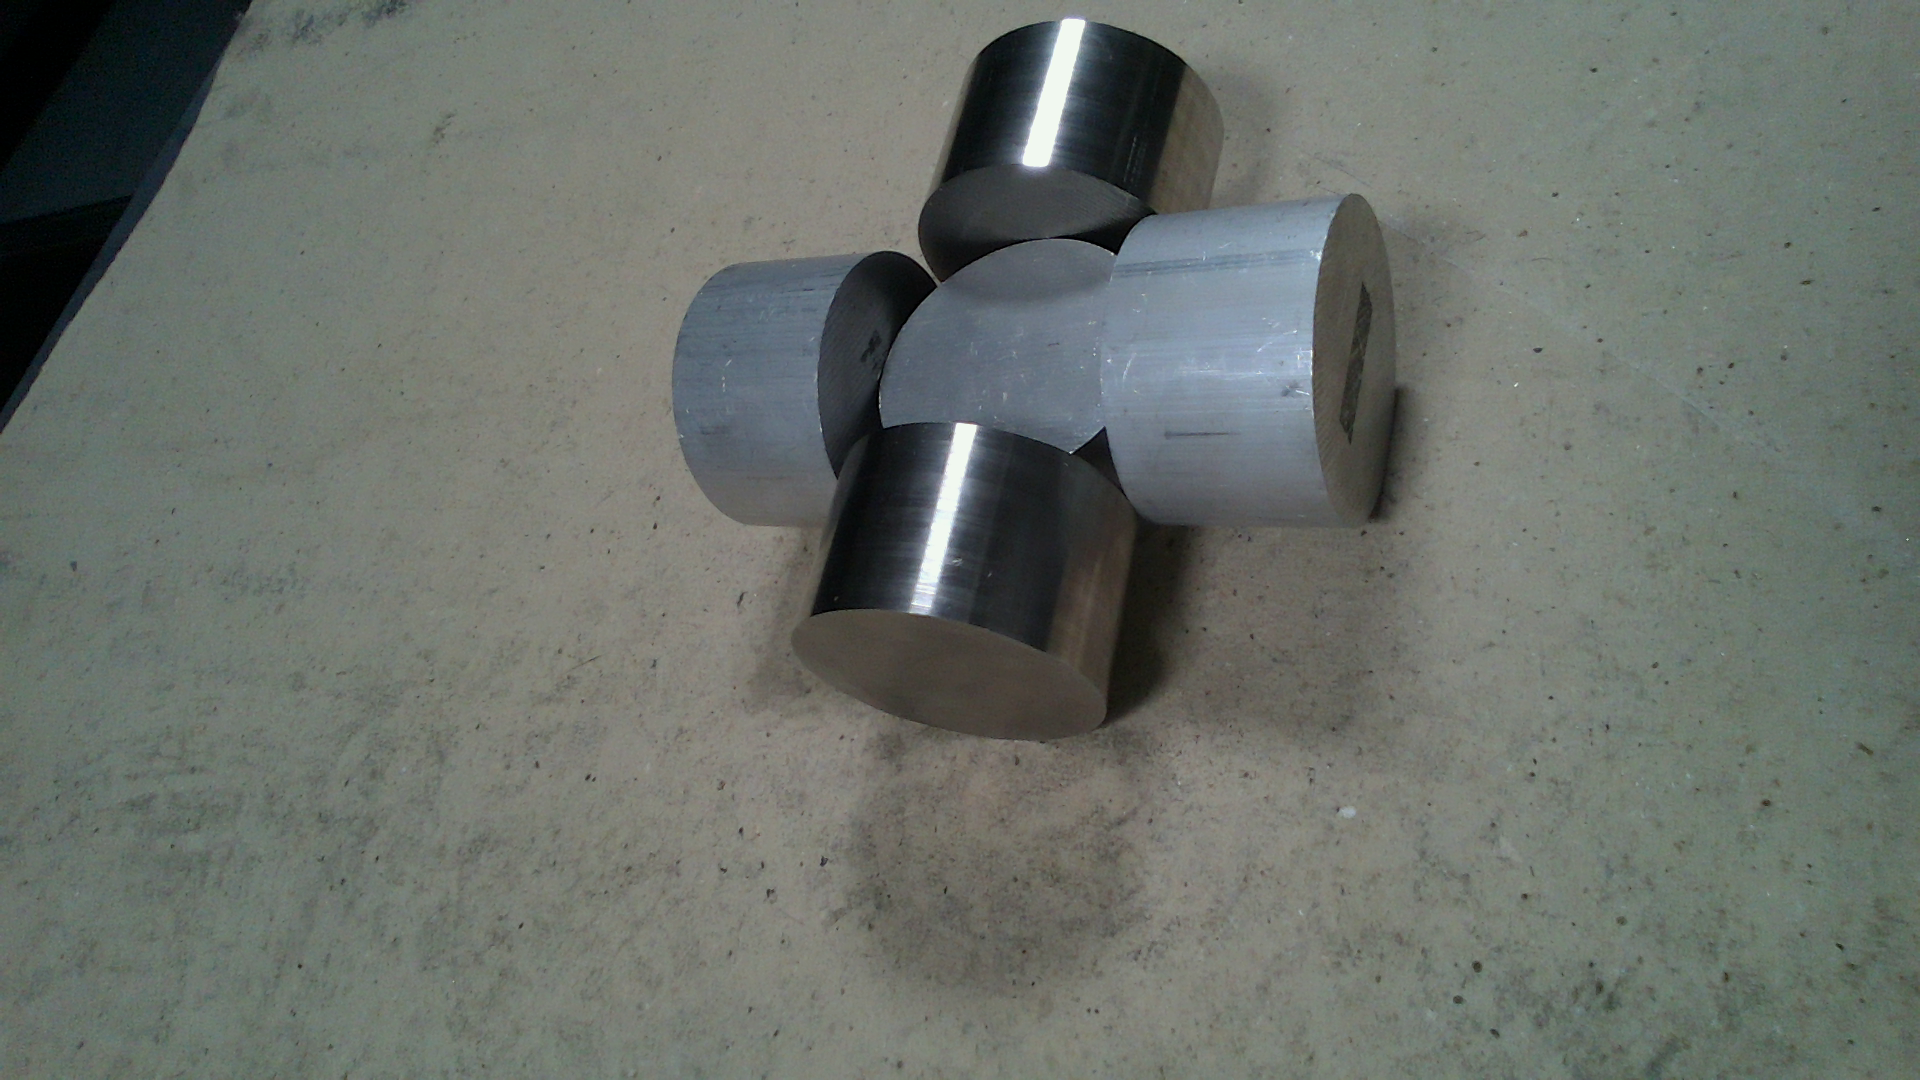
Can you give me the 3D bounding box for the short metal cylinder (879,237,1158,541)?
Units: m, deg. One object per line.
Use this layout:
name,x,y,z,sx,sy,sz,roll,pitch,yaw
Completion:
short metal cylinder,0.024,-0.038,0.388,0.080,0.050,0.080,-14,56,21

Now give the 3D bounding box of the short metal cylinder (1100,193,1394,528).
short metal cylinder,0.075,-0.044,0.345,0.050,0.080,0.080,2,62,30

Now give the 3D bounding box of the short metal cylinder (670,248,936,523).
short metal cylinder,-0.040,-0.044,0.407,0.050,0.080,0.080,2,62,30

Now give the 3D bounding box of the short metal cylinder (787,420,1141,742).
short metal cylinder,0.002,0.013,0.349,0.080,0.080,0.050,0,61,29

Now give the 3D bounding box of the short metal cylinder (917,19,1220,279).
short metal cylinder,0.032,-0.103,0.403,0.080,0.080,0.050,1,63,29
